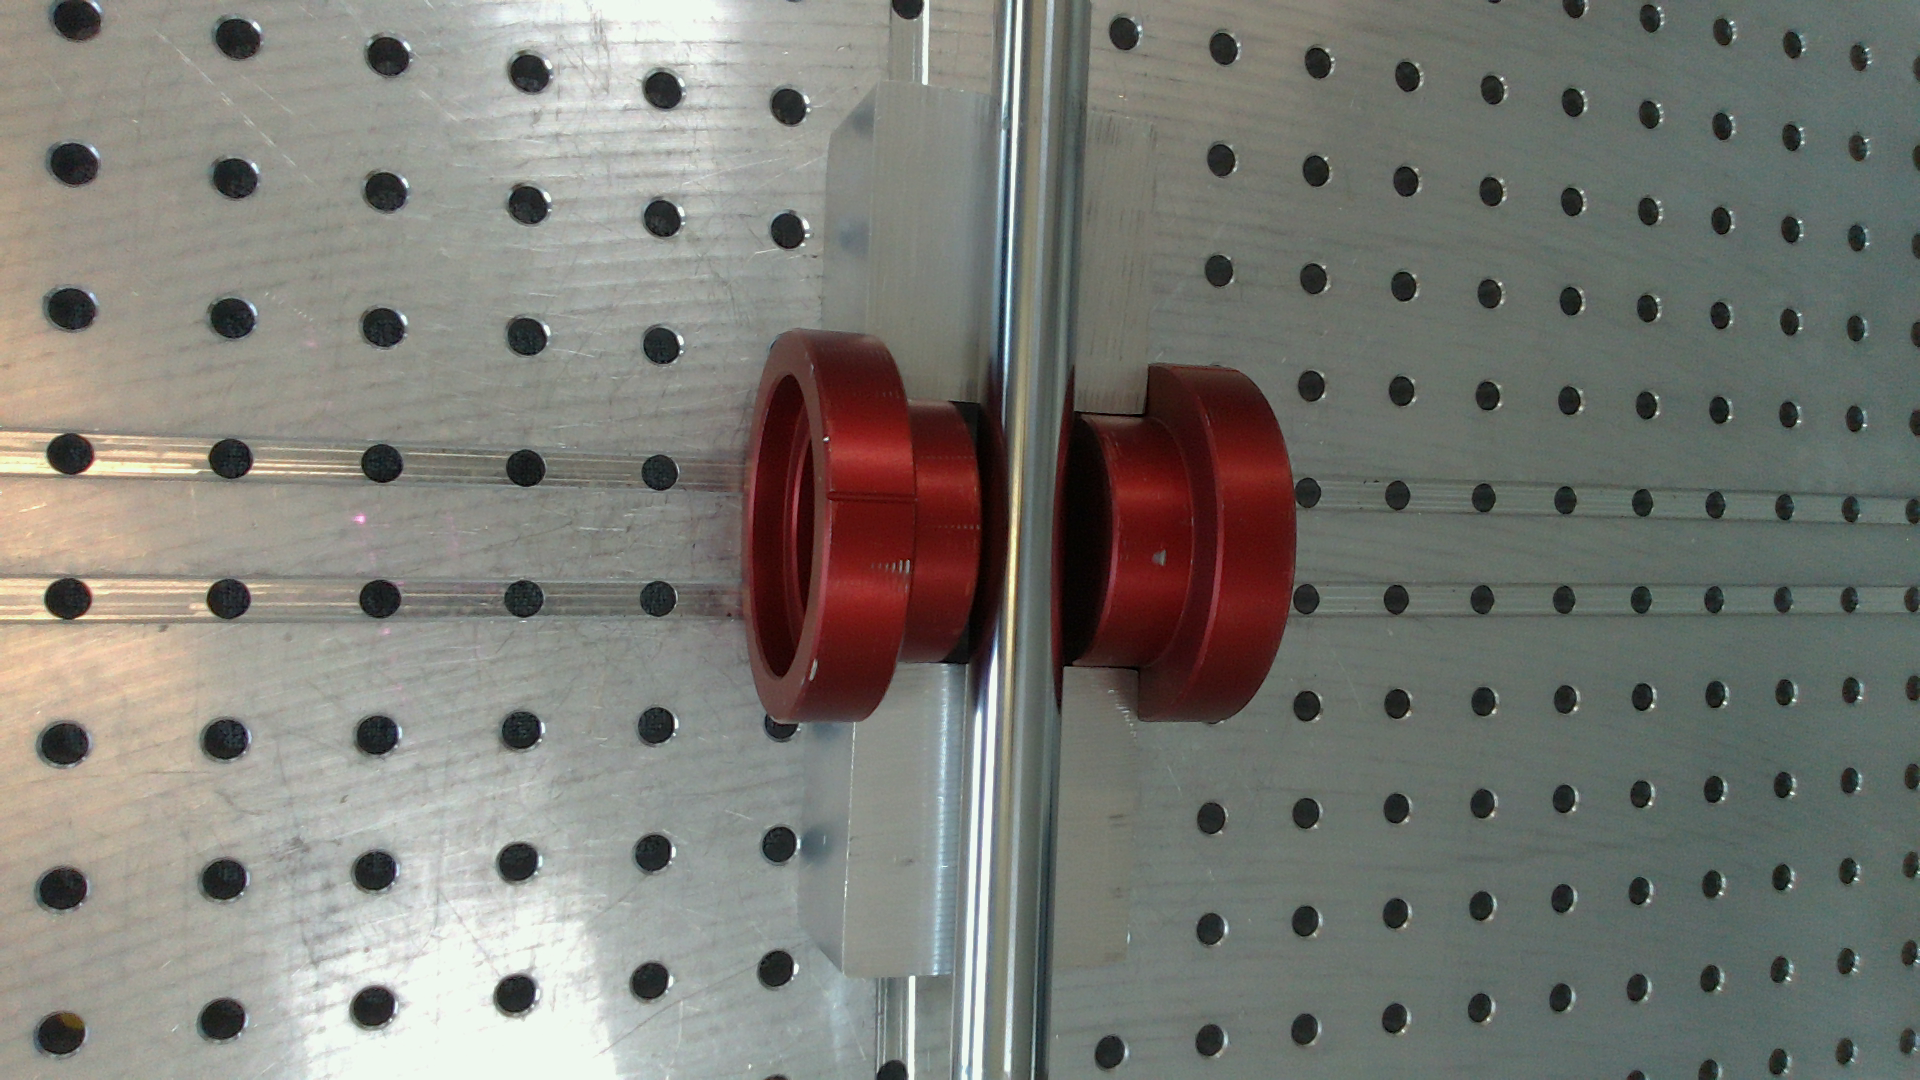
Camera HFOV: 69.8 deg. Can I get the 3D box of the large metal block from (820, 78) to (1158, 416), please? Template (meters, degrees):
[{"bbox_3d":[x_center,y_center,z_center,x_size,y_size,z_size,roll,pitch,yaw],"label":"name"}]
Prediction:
[{"bbox_3d":[0.006,-0.075,0.384,0.080,0.050,0.080,2,89,-20],"label":"large metal block"}]

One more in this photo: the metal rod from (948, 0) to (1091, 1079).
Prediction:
[{"bbox_3d":[0.015,0.014,0.348,0.025,0.025,0.300,3,89,-20],"label":"metal rod"}]

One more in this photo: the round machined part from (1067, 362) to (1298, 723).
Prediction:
[{"bbox_3d":[0.050,0.000,0.375,0.042,0.098,0.098,2,90,-15],"label":"round machined part"}]

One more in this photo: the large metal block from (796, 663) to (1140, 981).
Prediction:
[{"bbox_3d":[0.001,0.073,0.383,0.080,0.050,0.080,3,89,-20],"label":"large metal block"}]

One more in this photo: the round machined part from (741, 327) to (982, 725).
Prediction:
[{"bbox_3d":[-0.026,-0.003,0.347,0.042,0.098,0.098,2,89,-20],"label":"round machined part"}]
